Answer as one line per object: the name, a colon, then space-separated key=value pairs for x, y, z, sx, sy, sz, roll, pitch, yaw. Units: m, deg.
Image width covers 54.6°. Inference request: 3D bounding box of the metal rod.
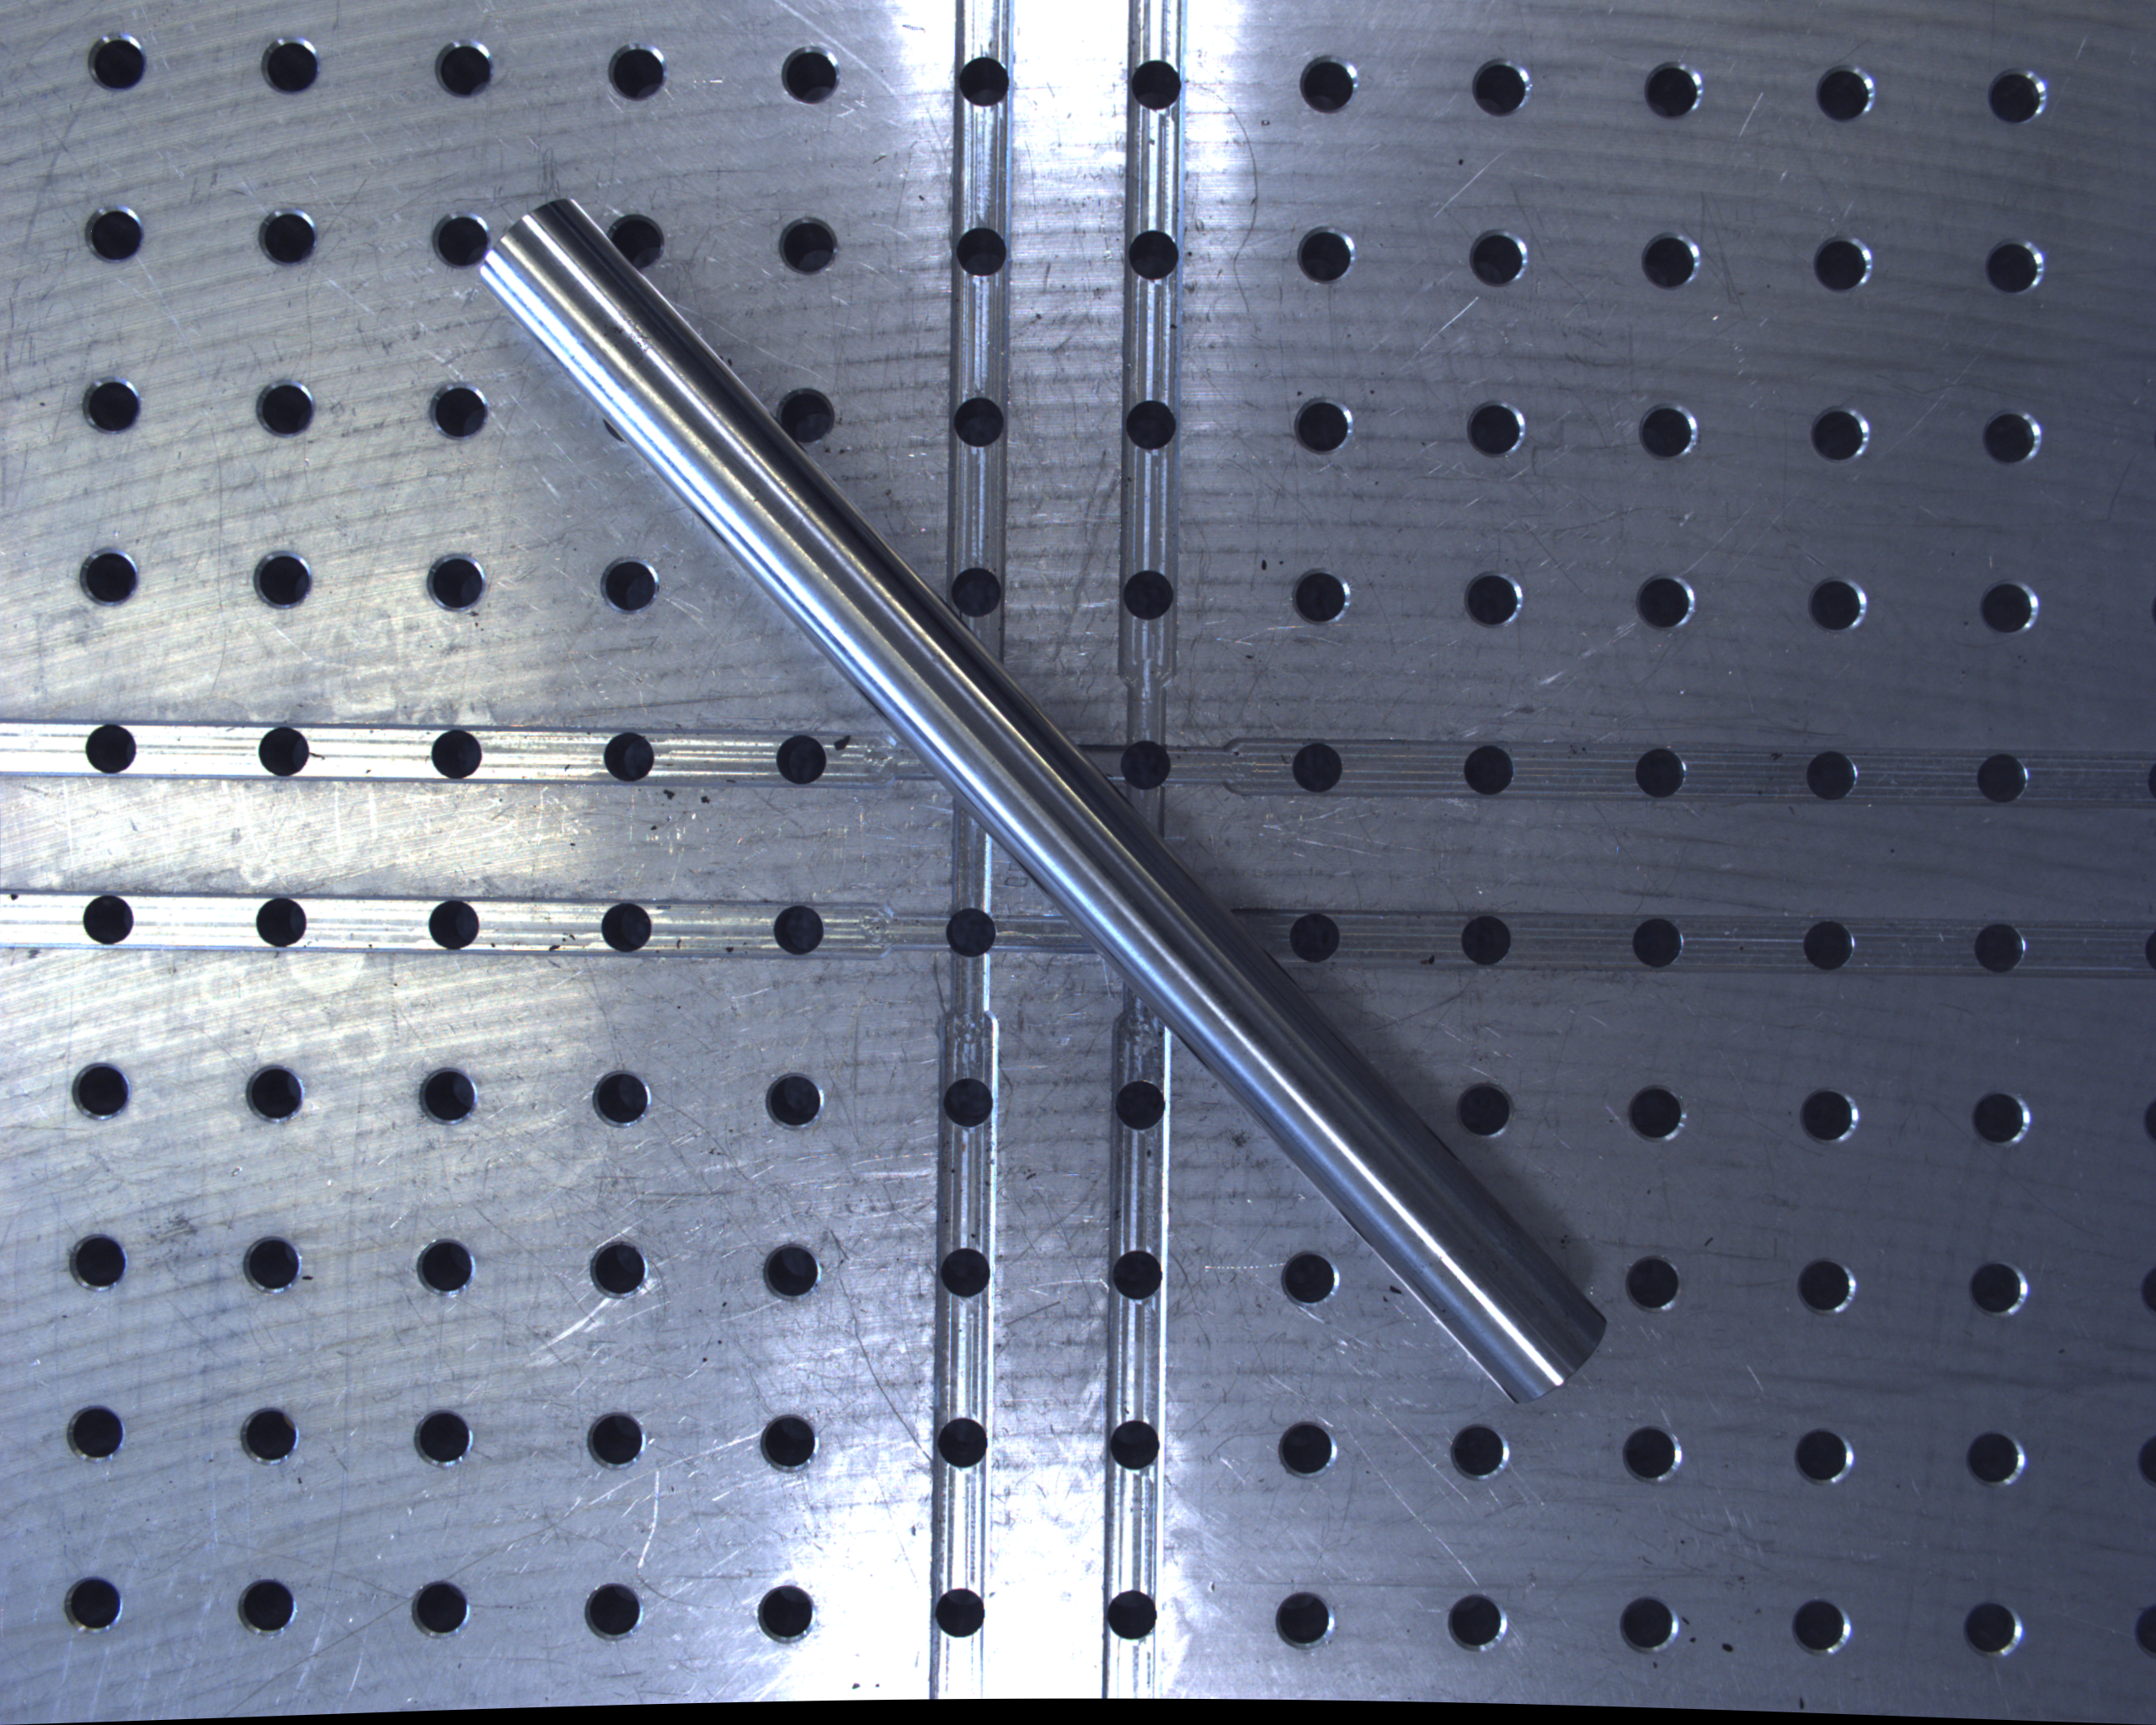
metal rod: x=-0.007 y=-0.012 z=0.414 sx=0.025 sy=0.025 sz=0.300 roll=-43 pitch=90 yaw=0
